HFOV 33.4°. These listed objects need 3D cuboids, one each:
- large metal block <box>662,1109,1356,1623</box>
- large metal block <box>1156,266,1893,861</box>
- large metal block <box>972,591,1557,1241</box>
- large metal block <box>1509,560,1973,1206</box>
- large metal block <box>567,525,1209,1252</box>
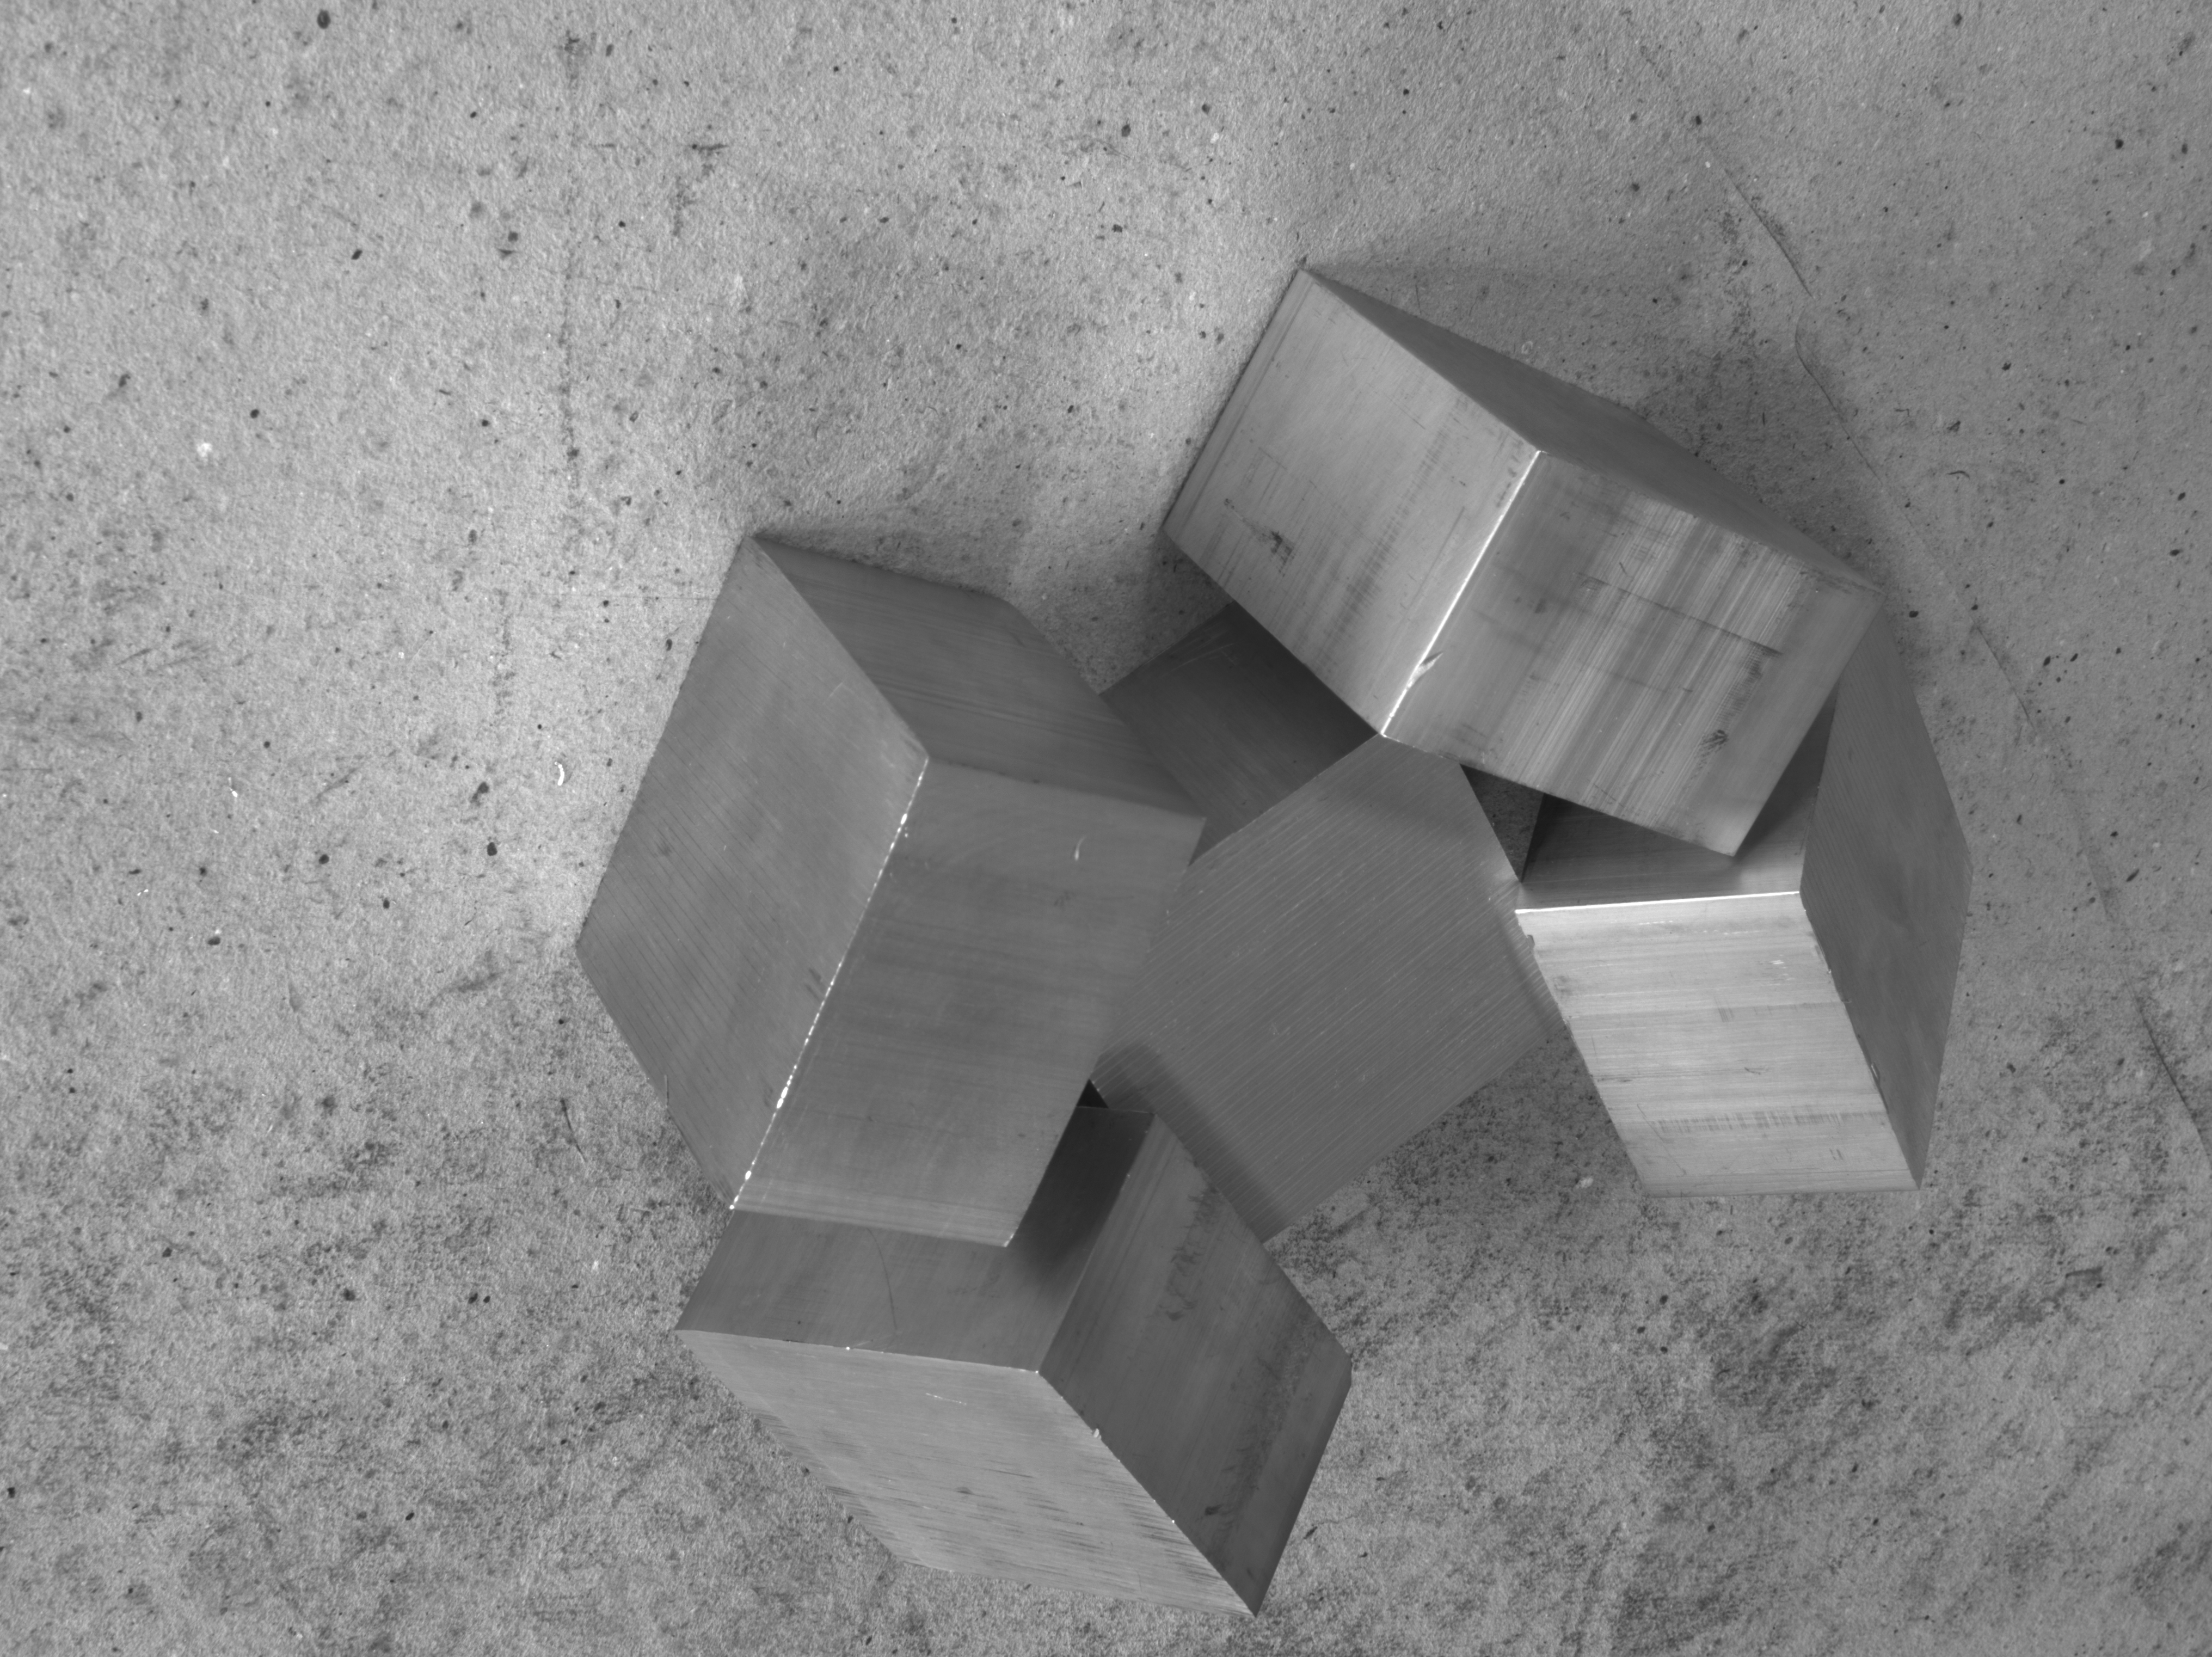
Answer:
[{"bbox_3d":[-0.016,0.091,0.641,0.080,0.080,0.050,54,50,-39],"label":"large metal block"},{"bbox_3d":[0.068,-0.044,0.613,0.080,0.080,0.050,17,109,-35],"label":"large metal block"},{"bbox_3d":[0.026,0.017,0.643,0.080,0.050,0.080,-35,130,-5],"label":"large metal block"},{"bbox_3d":[0.117,0.011,0.664,0.050,0.080,0.080,-5,134,28],"label":"large metal block"},{"bbox_3d":[-0.037,0.009,0.589,0.050,0.080,0.080,12,113,-33],"label":"large metal block"}]
